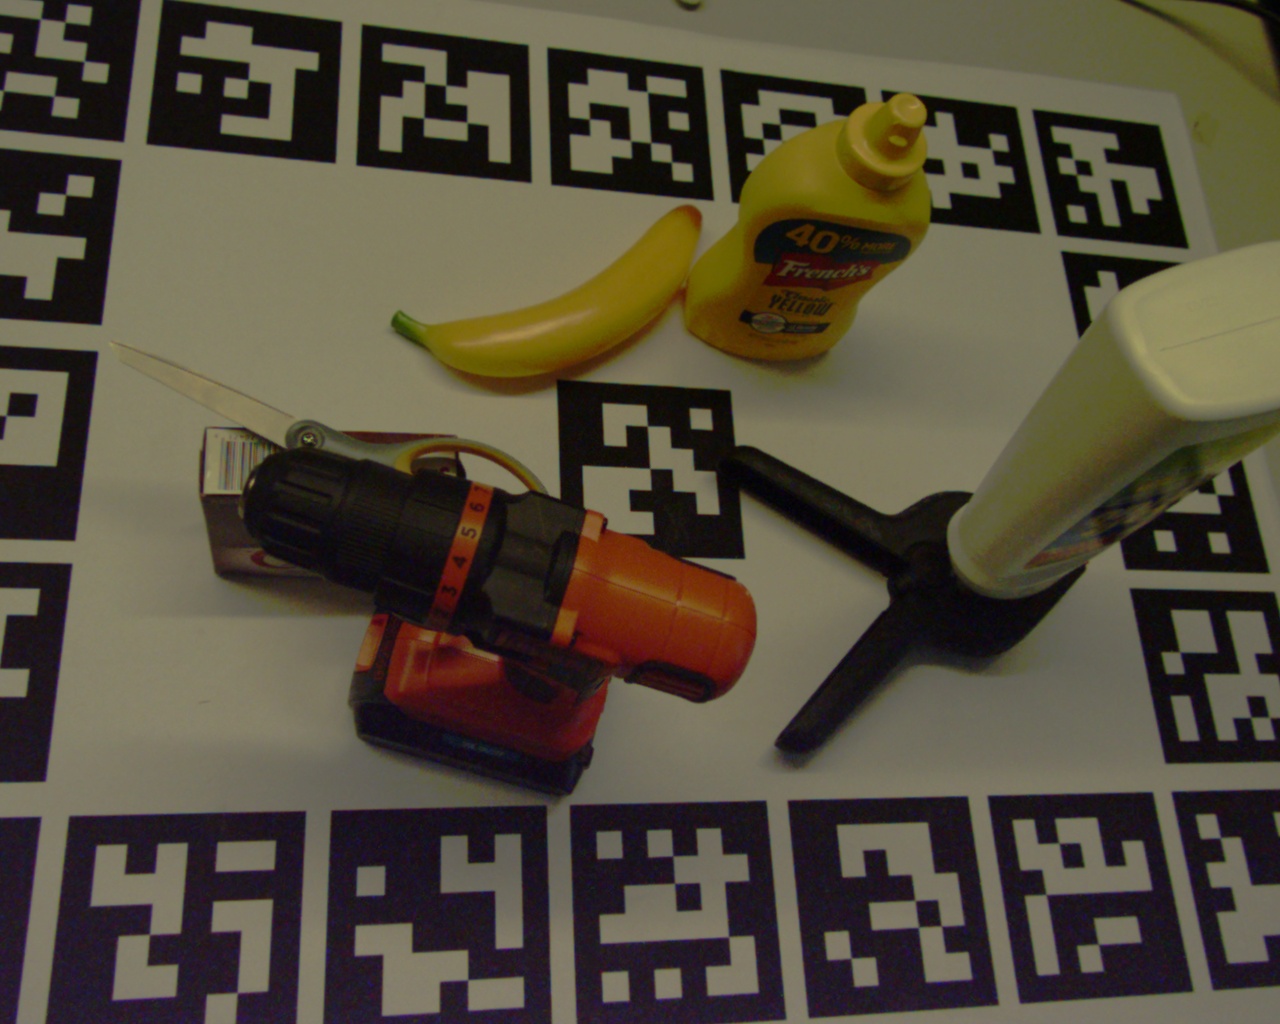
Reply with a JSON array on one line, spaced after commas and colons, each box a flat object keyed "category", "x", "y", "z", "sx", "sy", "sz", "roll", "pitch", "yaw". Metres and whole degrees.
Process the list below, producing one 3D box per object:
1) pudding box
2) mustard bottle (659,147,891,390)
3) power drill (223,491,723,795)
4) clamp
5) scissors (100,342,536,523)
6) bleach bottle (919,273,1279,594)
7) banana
[{"category": "pudding box", "x": -0.155, "y": 0.005, "z": 0.562, "sx": 0.113, "sy": 0.090, "sz": 0.039, "roll": 6, "pitch": 62, "yaw": -13}, {"category": "mustard bottle", "x": 0.081, "y": -0.134, "z": 0.623, "sx": 0.096, "sy": 0.192, "sz": 0.058, "roll": 16, "pitch": 67, "yaw": -10}, {"category": "power drill", "x": -0.074, "y": 0.060, "z": 0.477, "sx": 0.184, "sy": 0.187, "sz": 0.057, "roll": 13, "pitch": 61, "yaw": -6}, {"category": "clamp", "x": 0.147, "y": 0.035, "z": 0.639, "sx": 0.201, "sy": 0.037, "sz": 0.166, "roll": -5, "pitch": 73, "yaw": -17}, {"category": "scissors", "x": -0.148, "y": -0.024, "z": 0.504, "sx": 0.202, "sy": 0.016, "sz": 0.087, "roll": 27, "pitch": 70, "yaw": -8}, {"category": "bleach bottle", "x": 0.206, "y": -0.015, "z": 0.557, "sx": 0.102, "sy": 0.251, "sz": 0.068, "roll": -19, "pitch": 72, "yaw": -13}, {"category": "banana", "x": -0.040, "y": -0.128, "z": 0.663, "sx": 0.196, "sy": 0.039, "sz": 0.075, "roll": -39, "pitch": 66, "yaw": -23}]
